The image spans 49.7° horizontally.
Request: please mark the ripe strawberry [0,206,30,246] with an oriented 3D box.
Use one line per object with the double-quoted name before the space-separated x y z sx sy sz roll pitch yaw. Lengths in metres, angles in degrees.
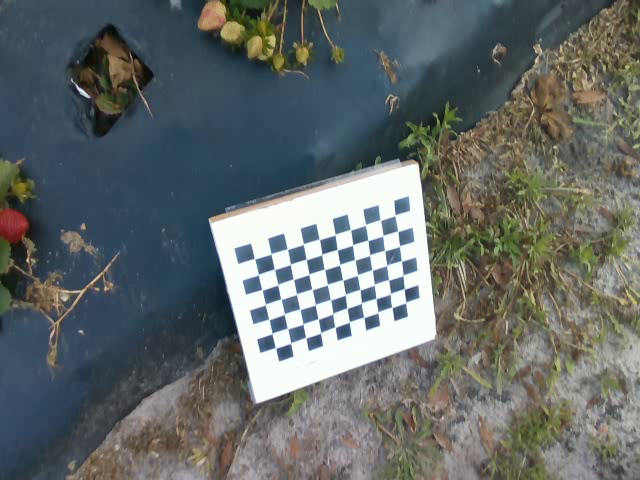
"ripe strawberry" -0.380 -0.013 0.850 0.046 0.043 0.047 -8 20 15
